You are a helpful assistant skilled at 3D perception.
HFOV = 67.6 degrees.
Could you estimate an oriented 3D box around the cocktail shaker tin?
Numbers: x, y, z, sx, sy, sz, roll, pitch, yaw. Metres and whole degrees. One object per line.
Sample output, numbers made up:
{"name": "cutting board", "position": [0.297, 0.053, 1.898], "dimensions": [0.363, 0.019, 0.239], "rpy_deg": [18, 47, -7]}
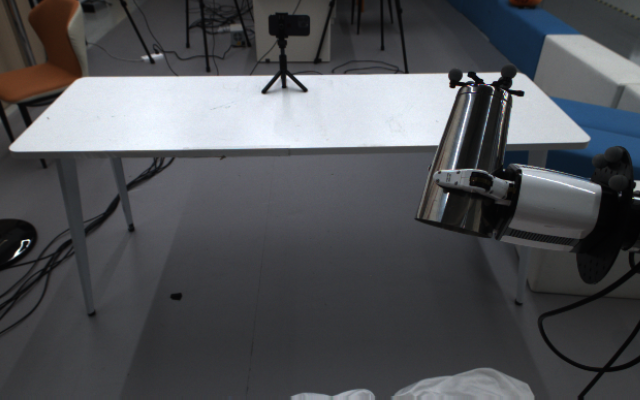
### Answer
{"name": "cocktail shaker tin", "position": [0.181, -0.048, 0.589], "dimensions": [0.093, 0.170, 0.093], "rpy_deg": [15, -4, 1]}
